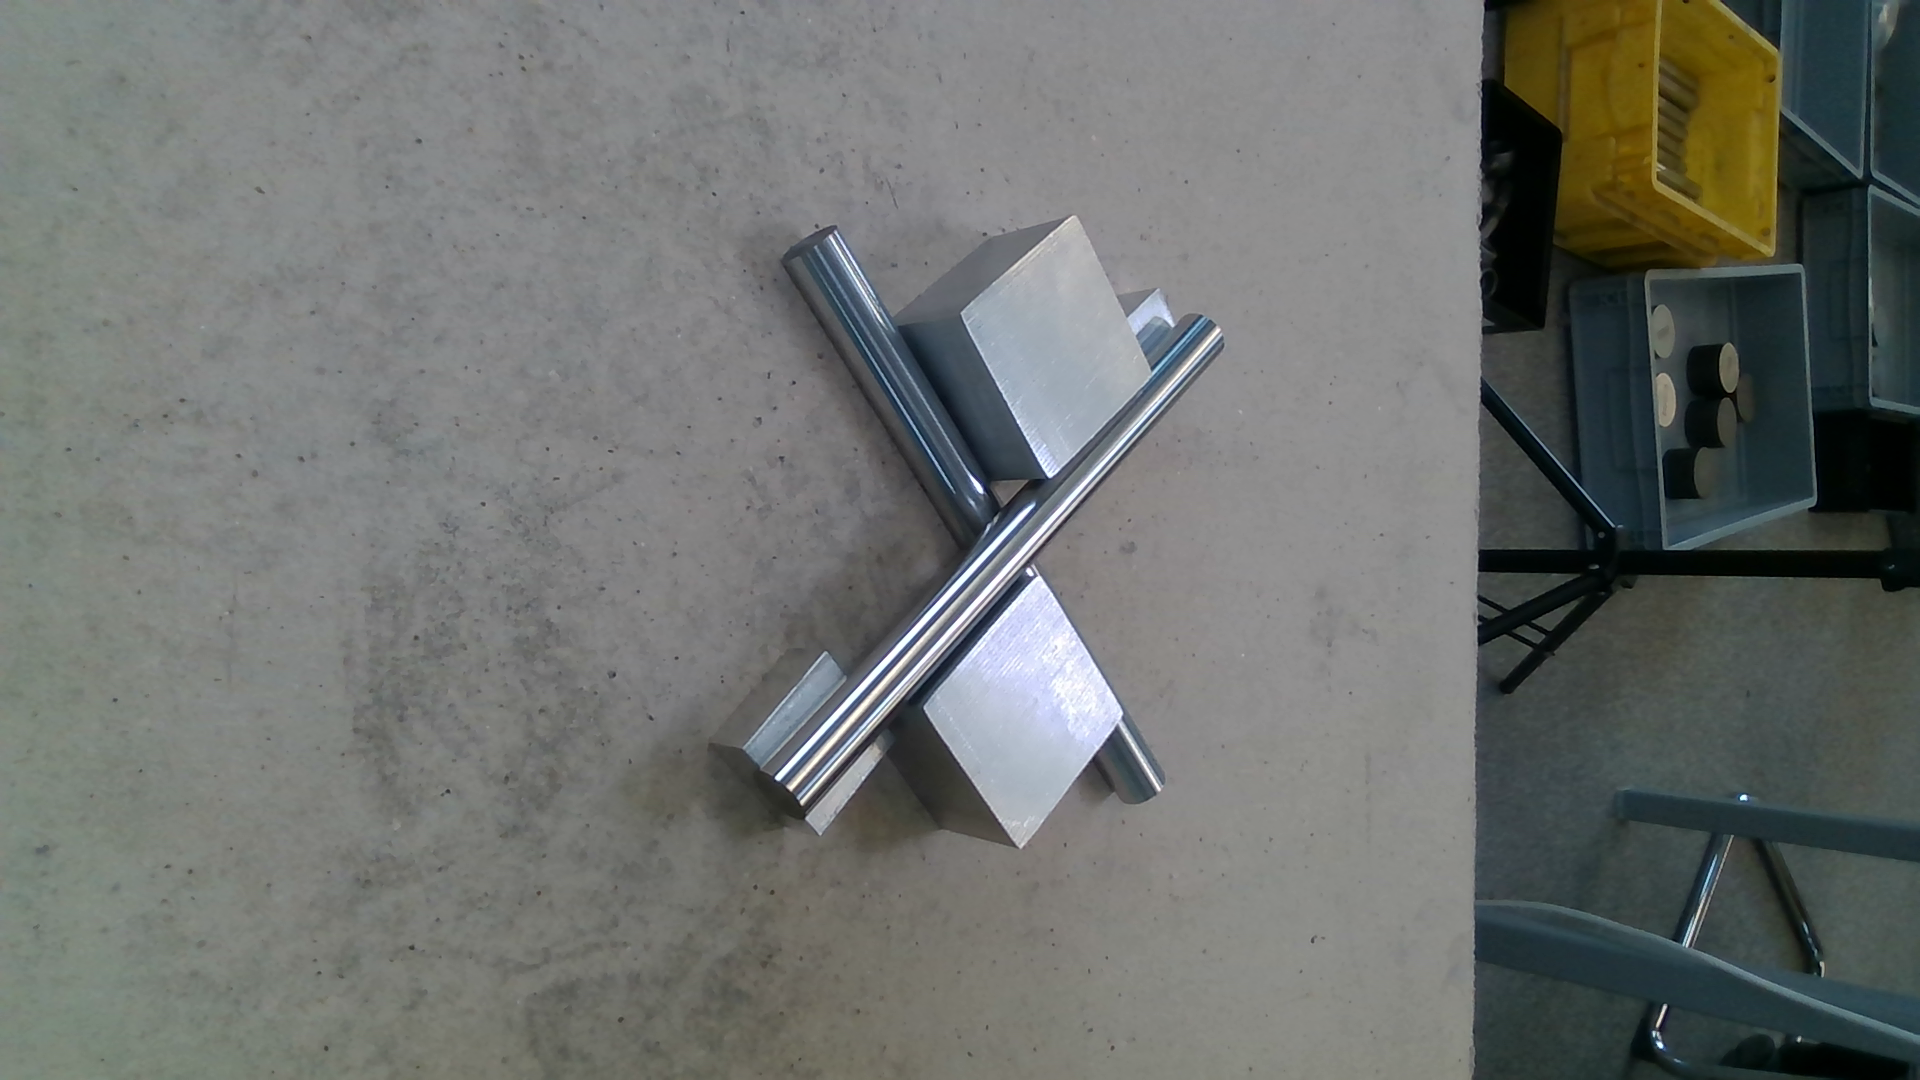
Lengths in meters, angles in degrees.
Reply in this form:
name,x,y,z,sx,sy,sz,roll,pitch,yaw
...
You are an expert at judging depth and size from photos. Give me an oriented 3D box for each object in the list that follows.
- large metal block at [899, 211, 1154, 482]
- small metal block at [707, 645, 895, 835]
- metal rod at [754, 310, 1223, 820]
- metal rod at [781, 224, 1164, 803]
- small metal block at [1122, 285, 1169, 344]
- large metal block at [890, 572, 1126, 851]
name,x,y,z,sx,sy,sz,roll,pitch,yaw
large metal block,0.026,-0.081,0.587,0.080,0.050,0.080,-45,117,-31
small metal block,-0.061,0.077,0.533,0.050,0.025,0.050,-51,120,-28
metal rod,0.024,-0.003,0.570,0.299,0.025,0.025,-47,118,-30
metal rod,0.014,0.000,0.596,0.025,0.025,0.301,-47,118,-30
small metal block,0.081,-0.085,0.653,0.050,0.025,0.050,-45,117,-31
large metal block,0.013,0.069,0.578,0.080,0.050,0.080,-47,118,-30
